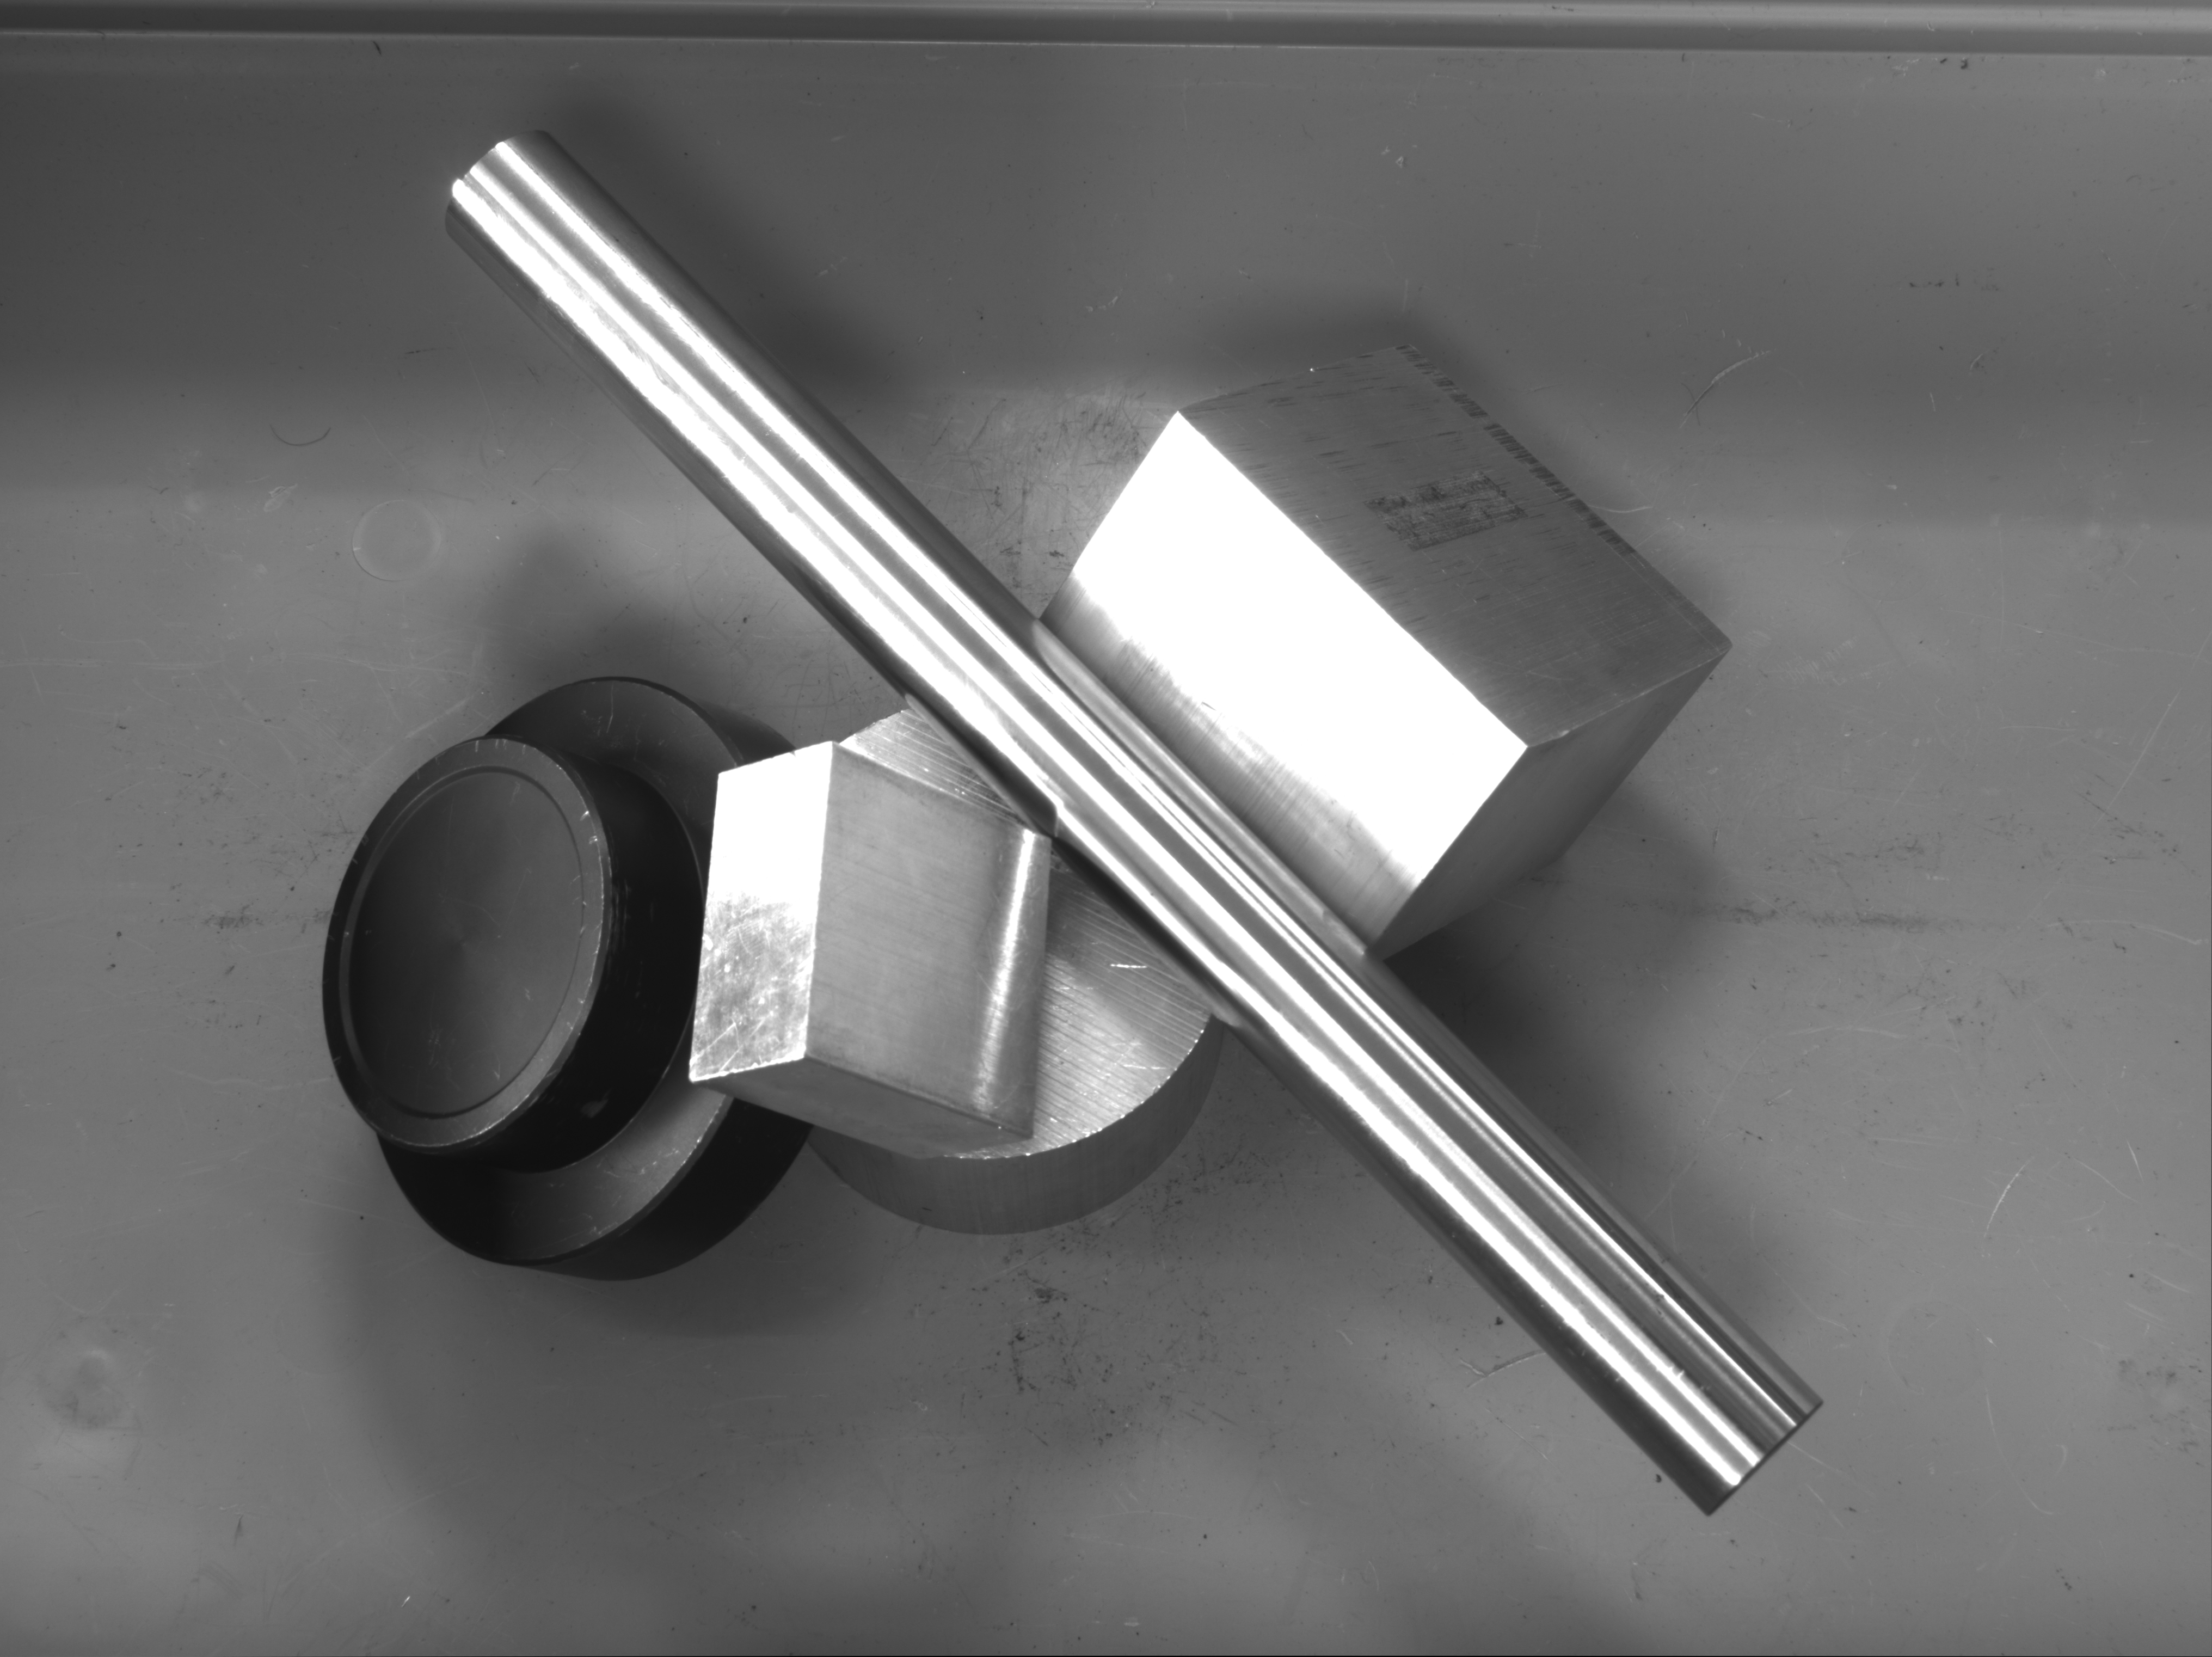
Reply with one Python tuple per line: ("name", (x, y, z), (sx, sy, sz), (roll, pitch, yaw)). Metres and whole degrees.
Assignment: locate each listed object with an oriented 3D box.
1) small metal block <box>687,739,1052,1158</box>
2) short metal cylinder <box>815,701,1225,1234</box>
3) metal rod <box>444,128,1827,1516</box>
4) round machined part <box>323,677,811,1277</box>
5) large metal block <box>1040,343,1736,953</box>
("small metal block", (-0.036, 0.020, 0.568), (0.025, 0.050, 0.050), (-14, 64, 39))
("short metal cylinder", (-0.019, 0.024, 0.622), (0.080, 0.050, 0.080), (0, 70, 0))
("metal rod", (-0.002, -0.008, 0.593), (0.025, 0.025, 0.300), (-41, 75, -13))
("round machined part", (-0.090, 0.023, 0.599), (0.098, 0.042, 0.098), (-12, 70, 37))
("large metal block", (0.047, -0.032, 0.619), (0.080, 0.050, 0.080), (45, 33, 15))
